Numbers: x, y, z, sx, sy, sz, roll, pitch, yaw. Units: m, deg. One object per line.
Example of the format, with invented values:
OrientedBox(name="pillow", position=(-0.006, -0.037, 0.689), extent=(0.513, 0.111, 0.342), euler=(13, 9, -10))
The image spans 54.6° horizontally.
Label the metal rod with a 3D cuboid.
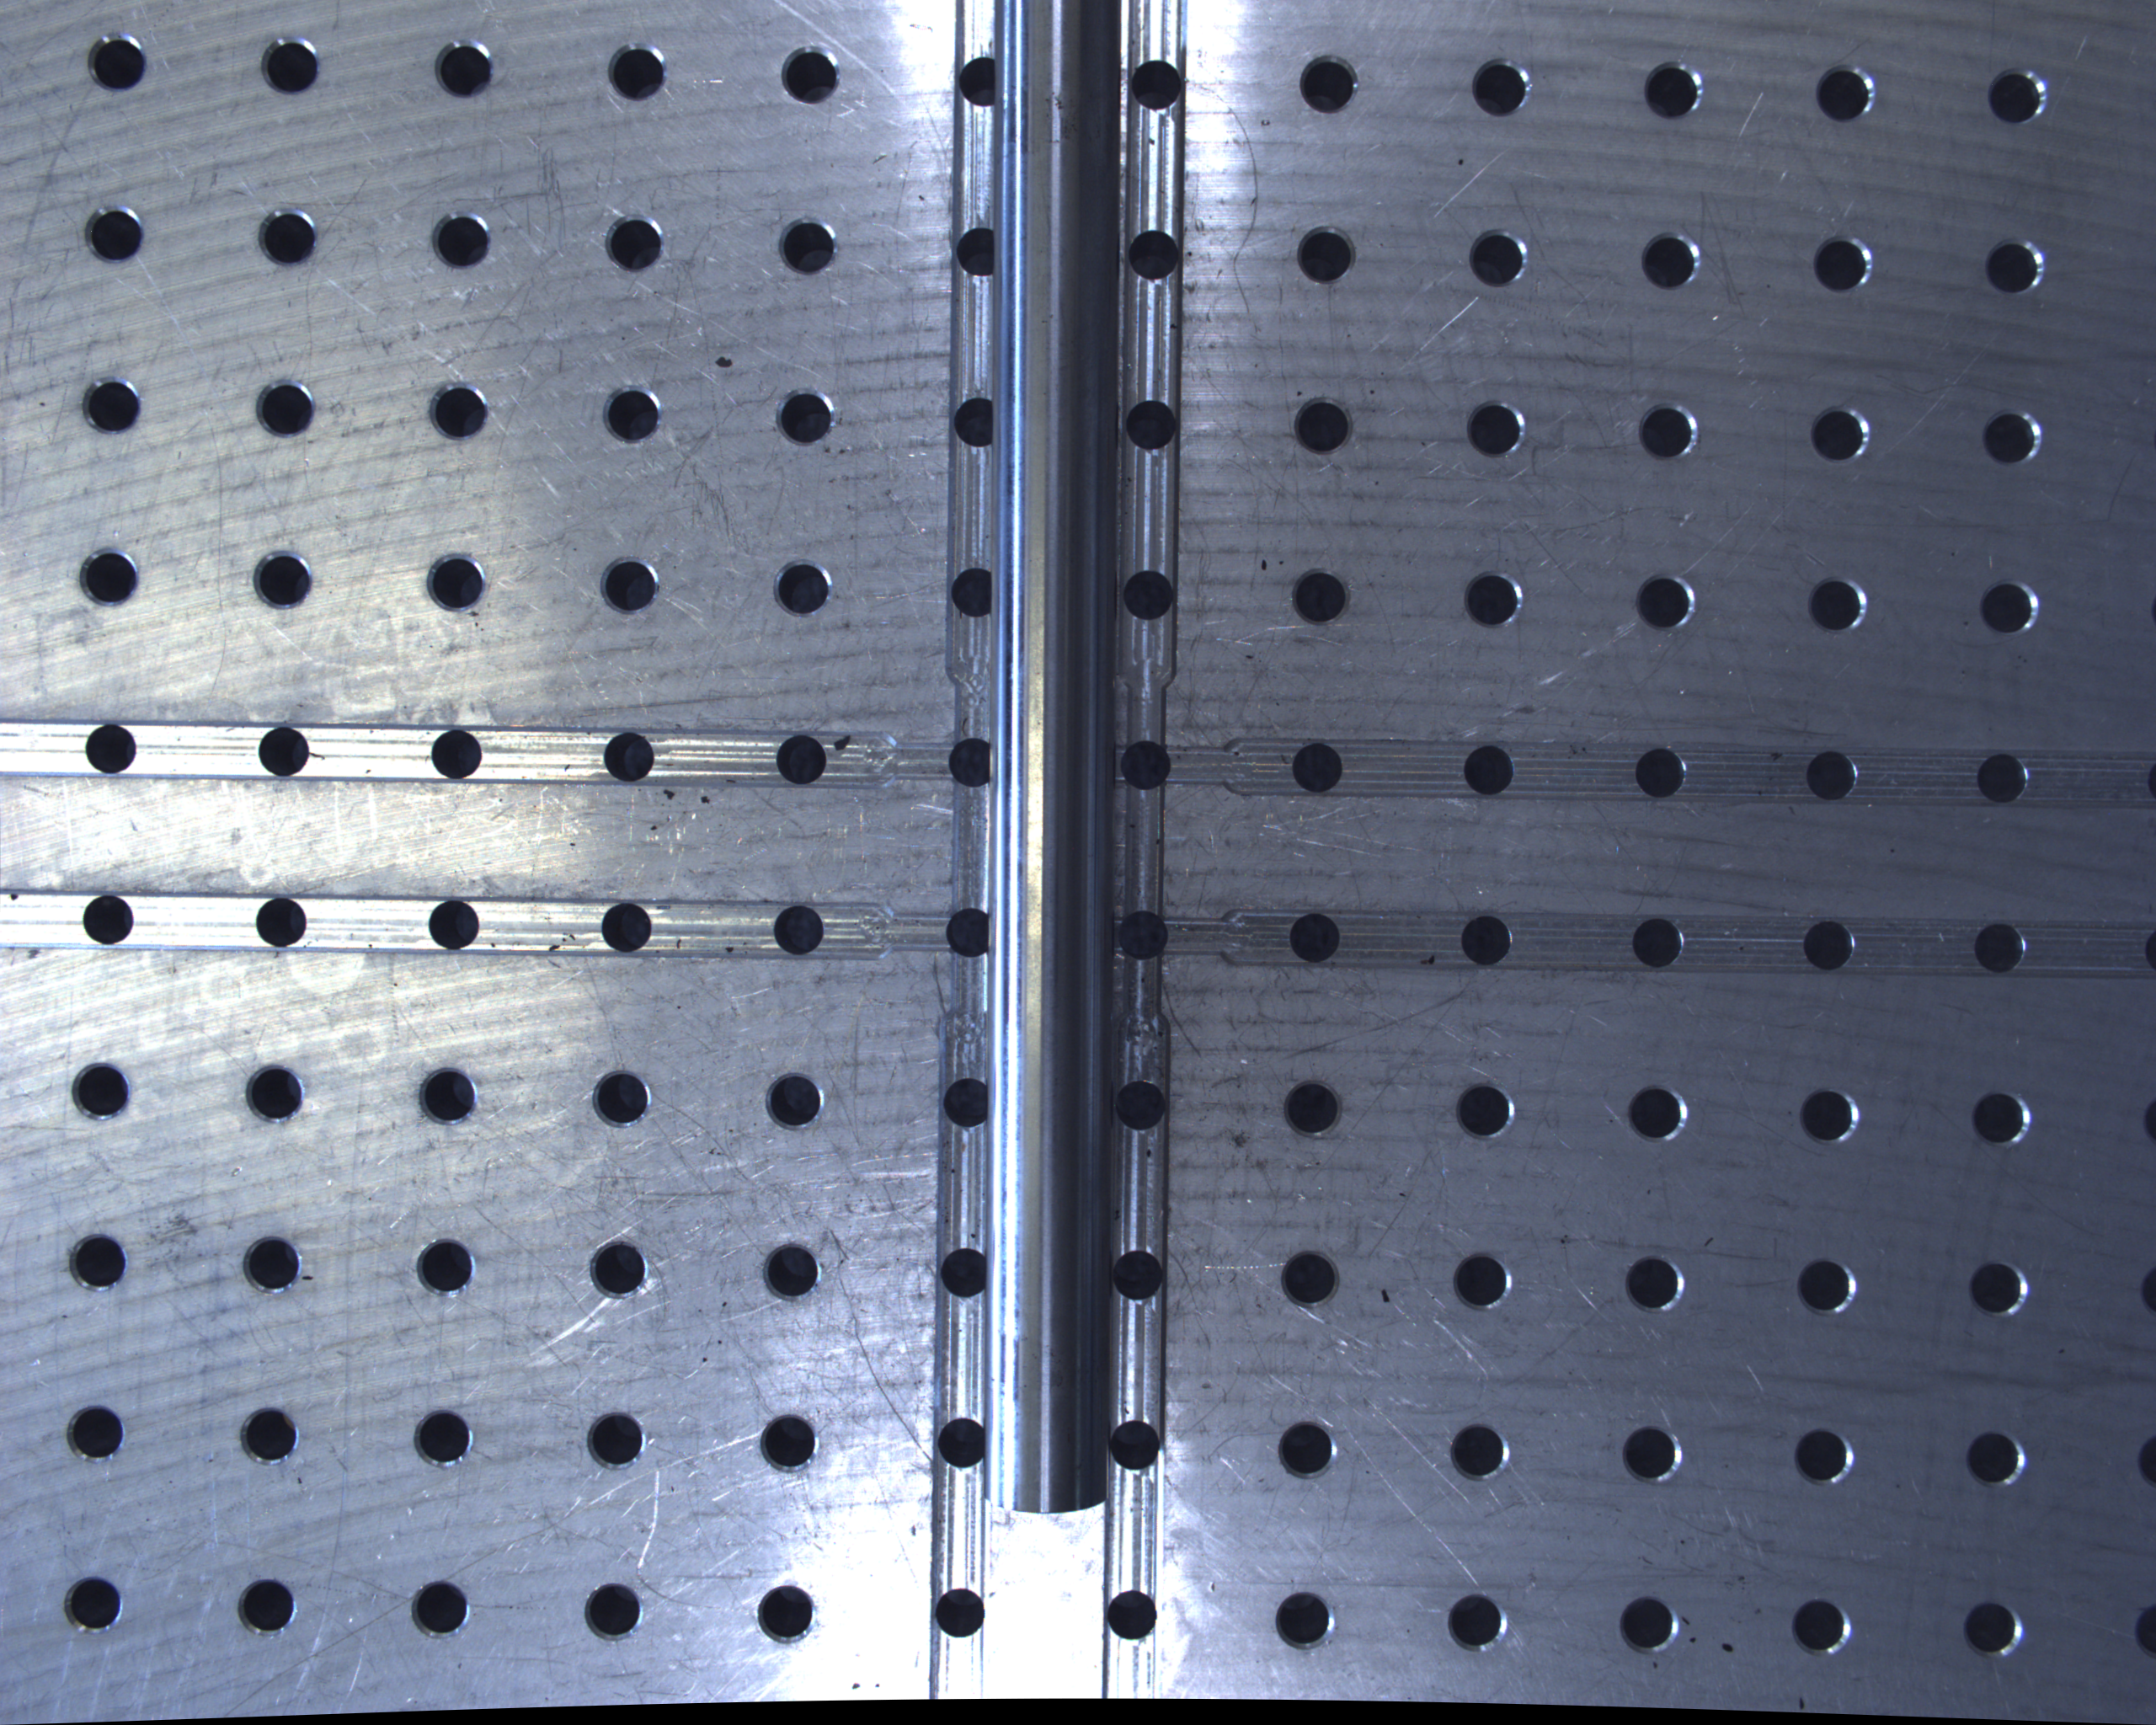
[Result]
OrientedBox(name="metal rod", position=(-0.005, -0.024, 0.414), extent=(0.025, 0.025, 0.298), euler=(1, 90, 0))
